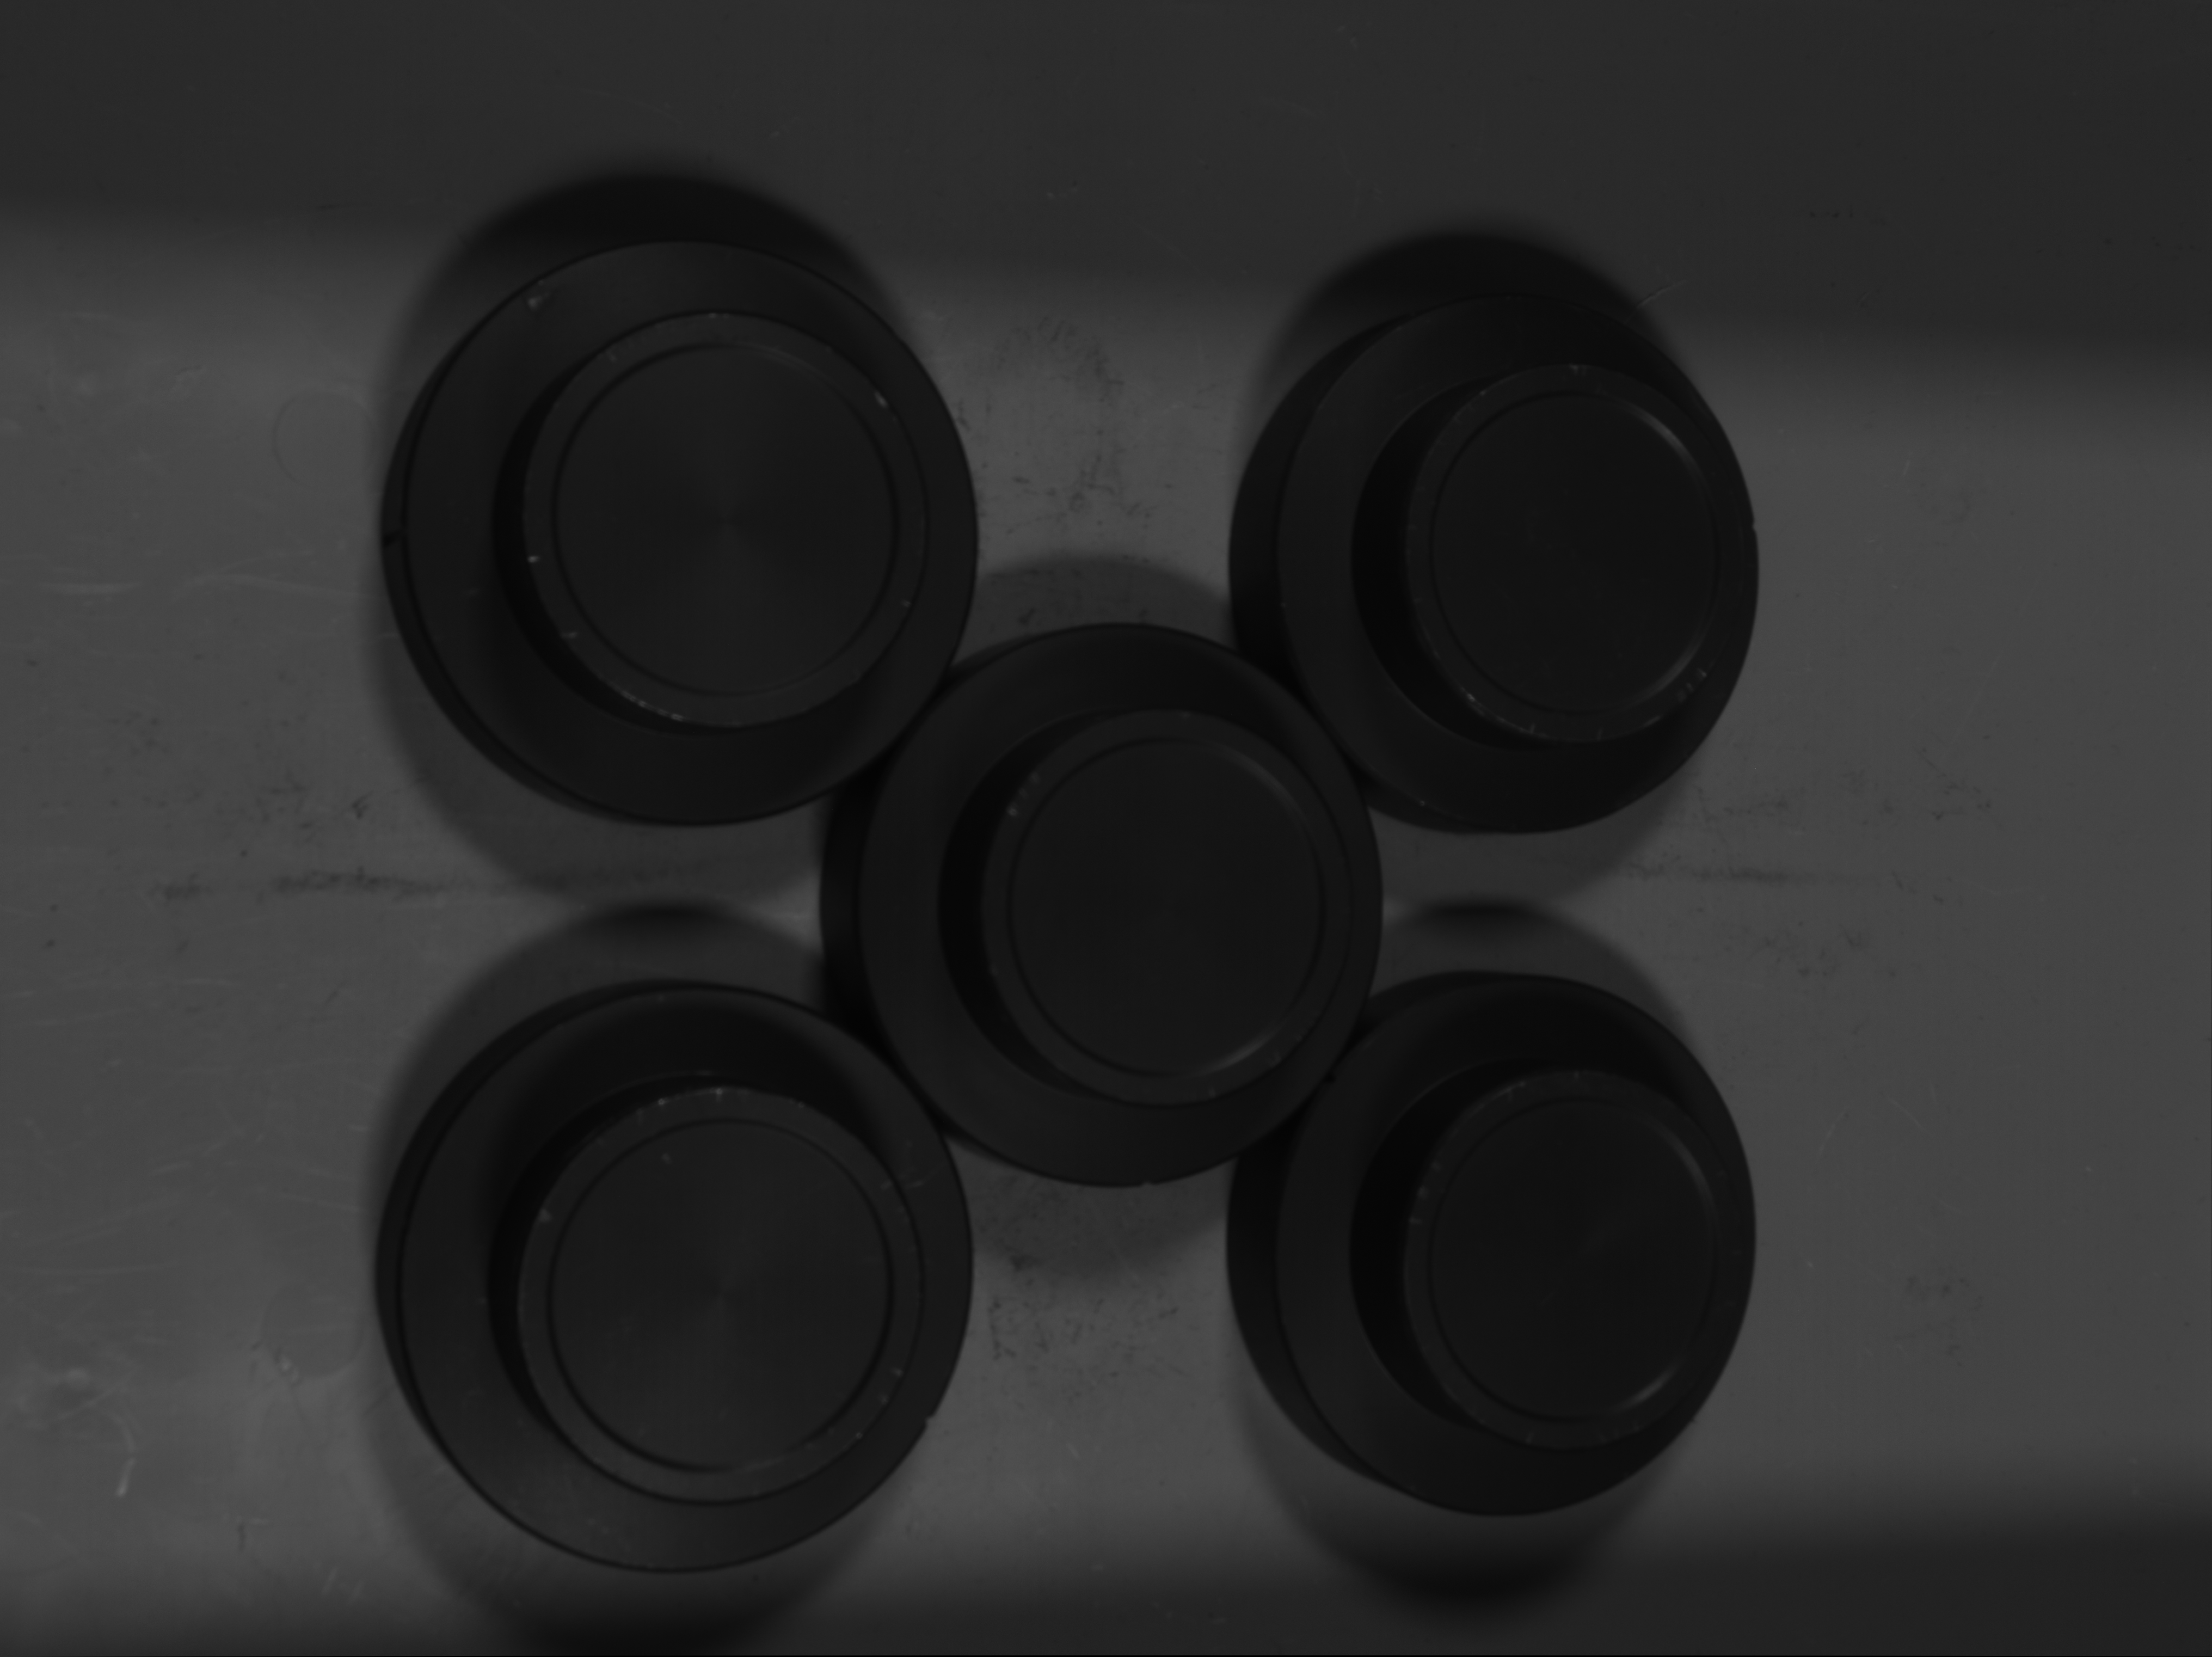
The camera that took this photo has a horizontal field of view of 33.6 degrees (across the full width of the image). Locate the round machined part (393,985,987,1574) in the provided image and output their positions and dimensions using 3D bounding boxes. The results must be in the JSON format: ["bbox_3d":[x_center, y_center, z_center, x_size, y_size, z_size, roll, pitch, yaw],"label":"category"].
[{"bbox_3d":[-0.066,0.075,0.609,0.098,0.042,0.098,0,90,-20],"label":"round machined part"}]

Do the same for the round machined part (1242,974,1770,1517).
[{"bbox_3d":[0.078,0.075,0.661,0.098,0.042,0.098,0,90,-20],"label":"round machined part"}]

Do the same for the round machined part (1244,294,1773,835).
[{"bbox_3d":[0.078,-0.048,0.662,0.098,0.042,0.098,0,90,-20],"label":"round machined part"}]

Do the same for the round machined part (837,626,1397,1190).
[{"bbox_3d":[0.006,0.014,0.635,0.098,0.042,0.098,0,90,-20],"label":"round machined part"}]

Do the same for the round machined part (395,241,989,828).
[{"bbox_3d":[-0.066,-0.049,0.610,0.098,0.042,0.098,0,90,-20],"label":"round machined part"}]
